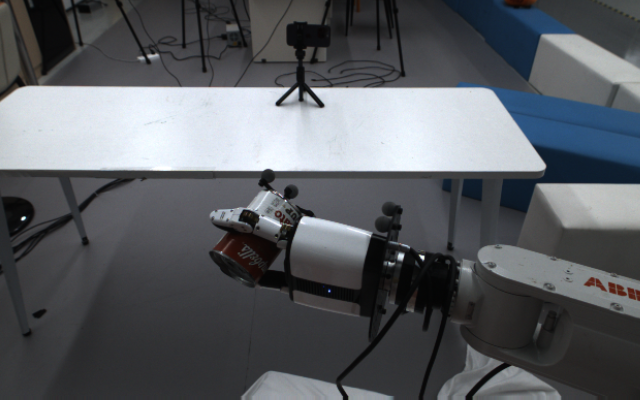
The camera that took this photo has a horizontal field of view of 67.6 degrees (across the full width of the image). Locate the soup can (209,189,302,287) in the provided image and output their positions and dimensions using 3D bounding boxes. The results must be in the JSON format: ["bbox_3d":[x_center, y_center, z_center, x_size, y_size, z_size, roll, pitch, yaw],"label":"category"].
[{"bbox_3d":[-0.074,0.045,0.581,0.067,0.067,0.101,23,60,27],"label":"soup can"}]
